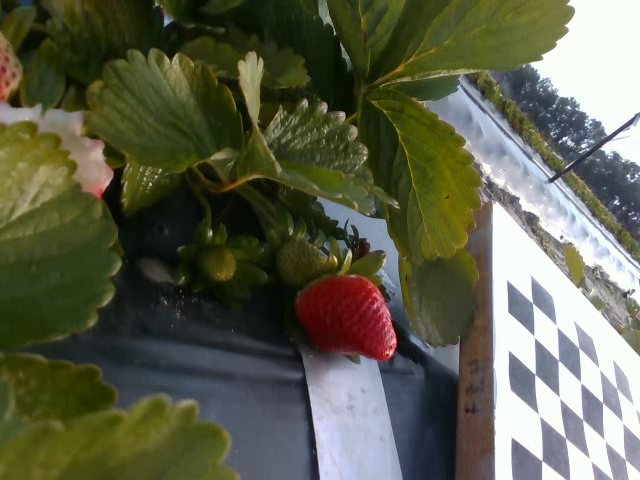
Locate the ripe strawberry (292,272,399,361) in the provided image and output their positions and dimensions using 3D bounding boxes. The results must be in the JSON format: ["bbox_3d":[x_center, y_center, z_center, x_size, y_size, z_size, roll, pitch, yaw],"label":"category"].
[{"bbox_3d":[0.017,0.032,0.228,0.035,0.055,0.050,-36,-57,18],"label":"ripe strawberry"}]
